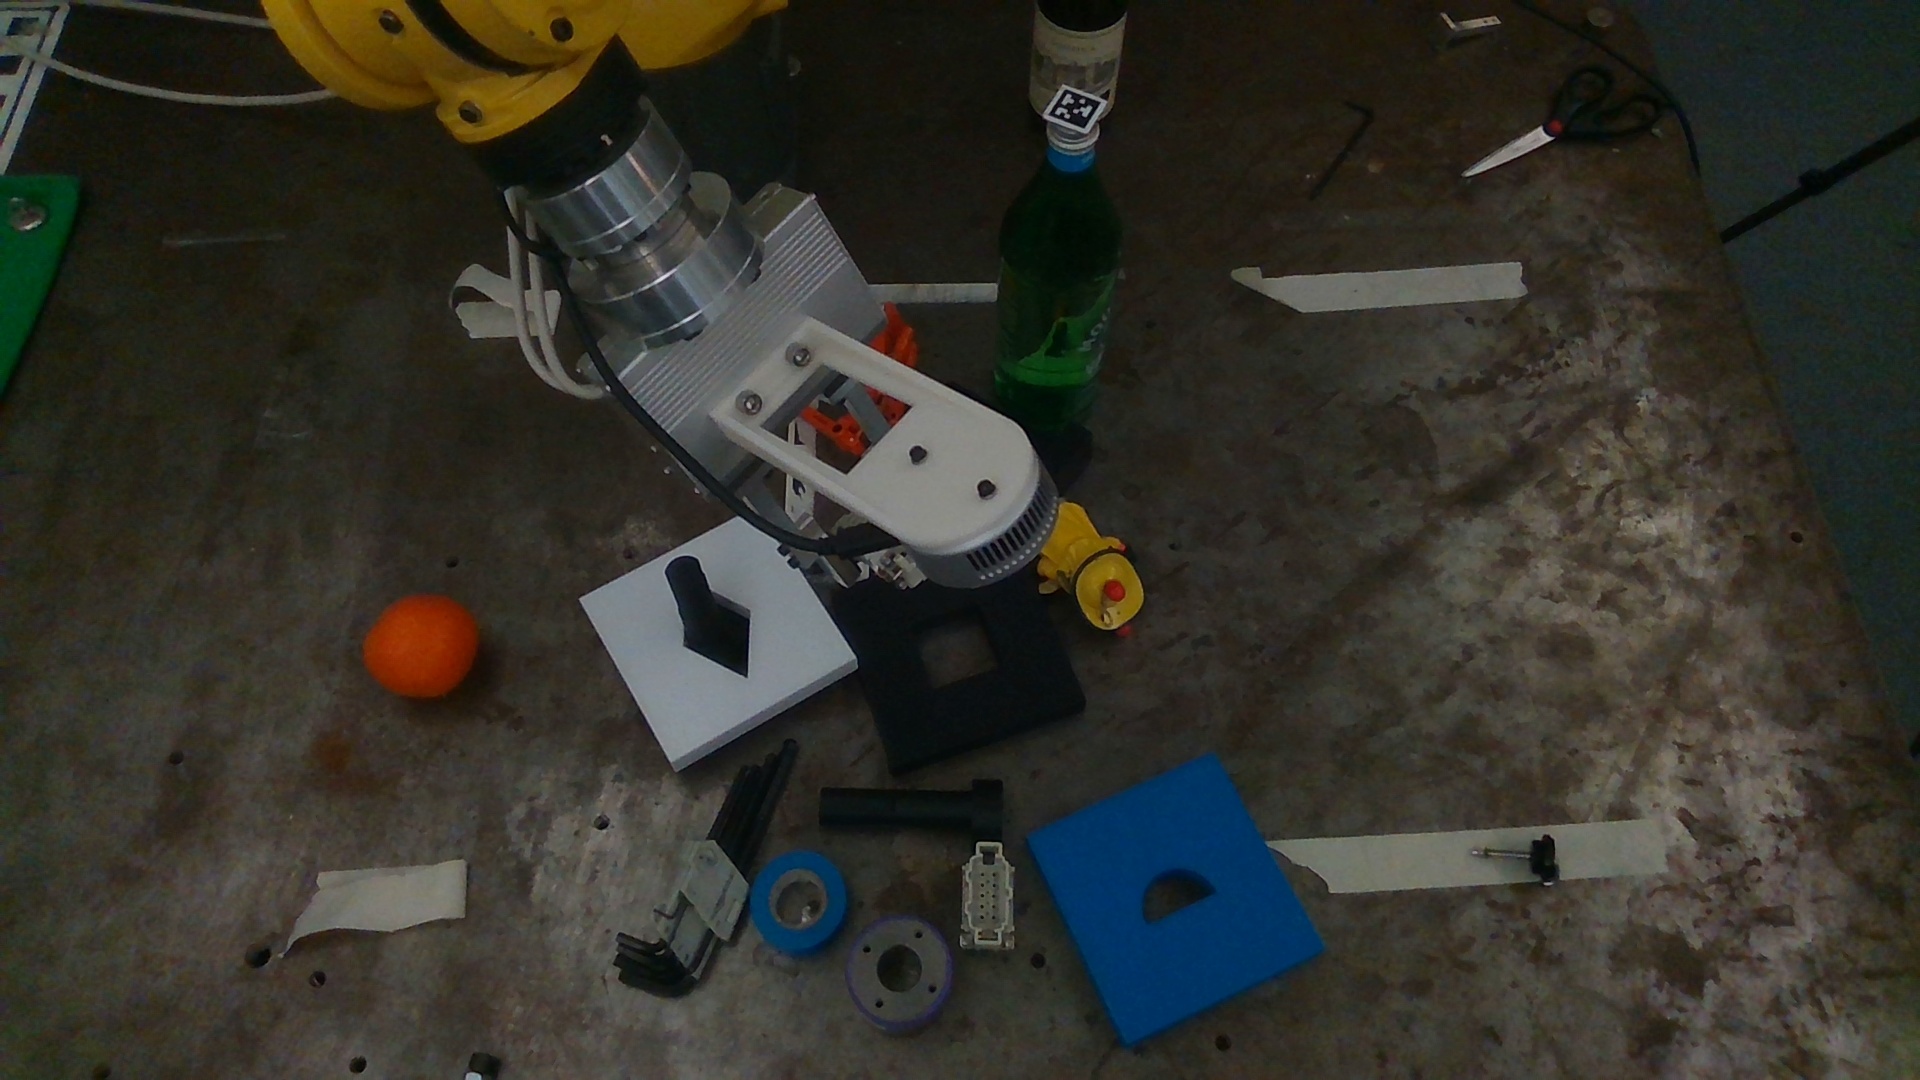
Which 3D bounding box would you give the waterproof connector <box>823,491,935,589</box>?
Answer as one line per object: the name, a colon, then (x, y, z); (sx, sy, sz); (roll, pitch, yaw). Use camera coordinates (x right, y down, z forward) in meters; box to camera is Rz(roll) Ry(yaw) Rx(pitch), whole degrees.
waterproof connector: (-0.039, 0.001, 0.713); (0.036, 0.069, 0.038); (-48, 116, -13)
